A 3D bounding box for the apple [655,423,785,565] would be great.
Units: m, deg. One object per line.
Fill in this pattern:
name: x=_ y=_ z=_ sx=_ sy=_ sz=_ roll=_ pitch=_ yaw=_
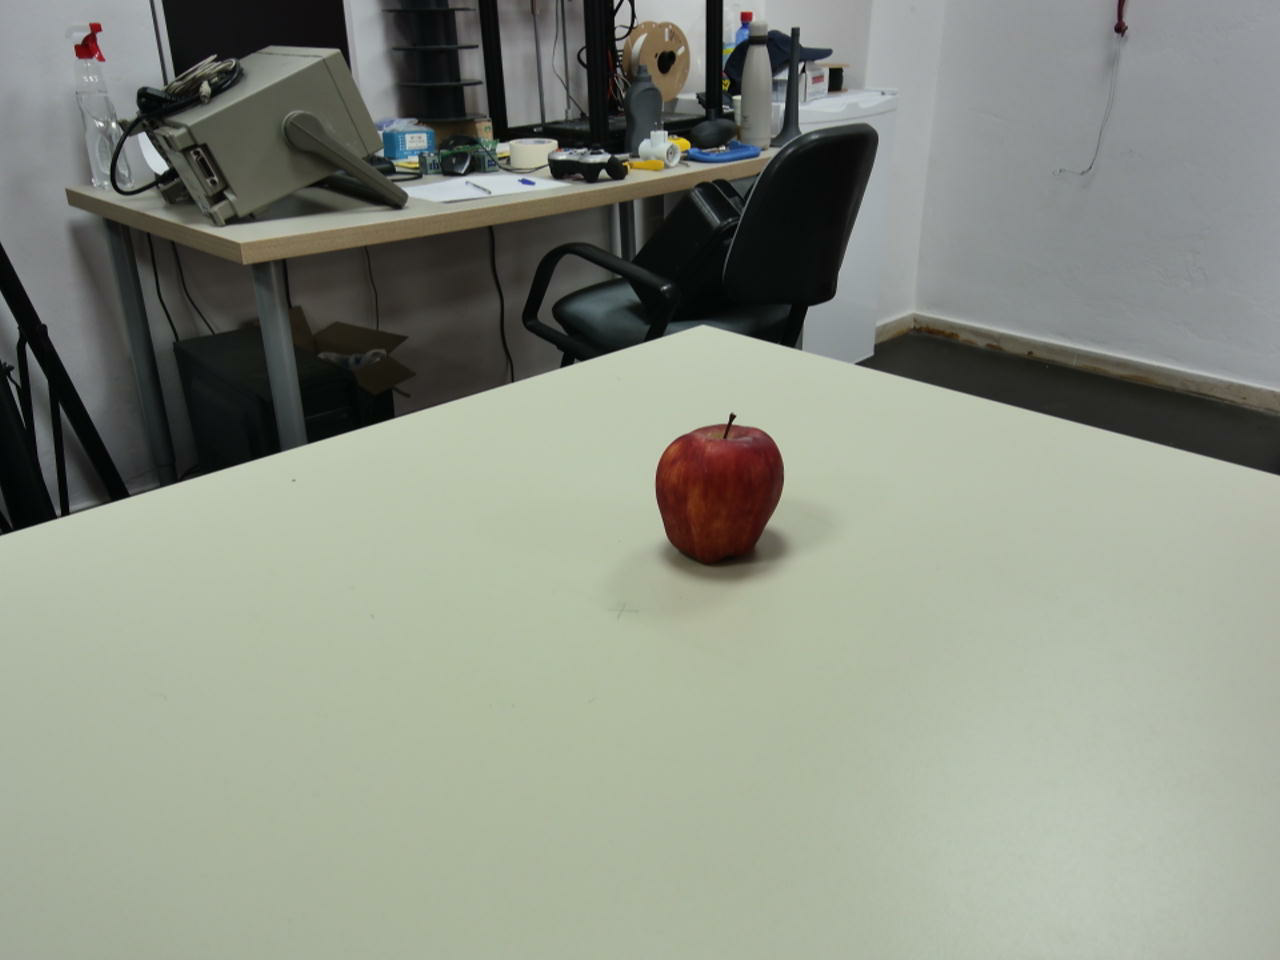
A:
apple: x=0.050 y=0.000 z=0.618 sx=0.083 sy=0.090 sz=0.083 roll=1 pitch=24 yaw=0
